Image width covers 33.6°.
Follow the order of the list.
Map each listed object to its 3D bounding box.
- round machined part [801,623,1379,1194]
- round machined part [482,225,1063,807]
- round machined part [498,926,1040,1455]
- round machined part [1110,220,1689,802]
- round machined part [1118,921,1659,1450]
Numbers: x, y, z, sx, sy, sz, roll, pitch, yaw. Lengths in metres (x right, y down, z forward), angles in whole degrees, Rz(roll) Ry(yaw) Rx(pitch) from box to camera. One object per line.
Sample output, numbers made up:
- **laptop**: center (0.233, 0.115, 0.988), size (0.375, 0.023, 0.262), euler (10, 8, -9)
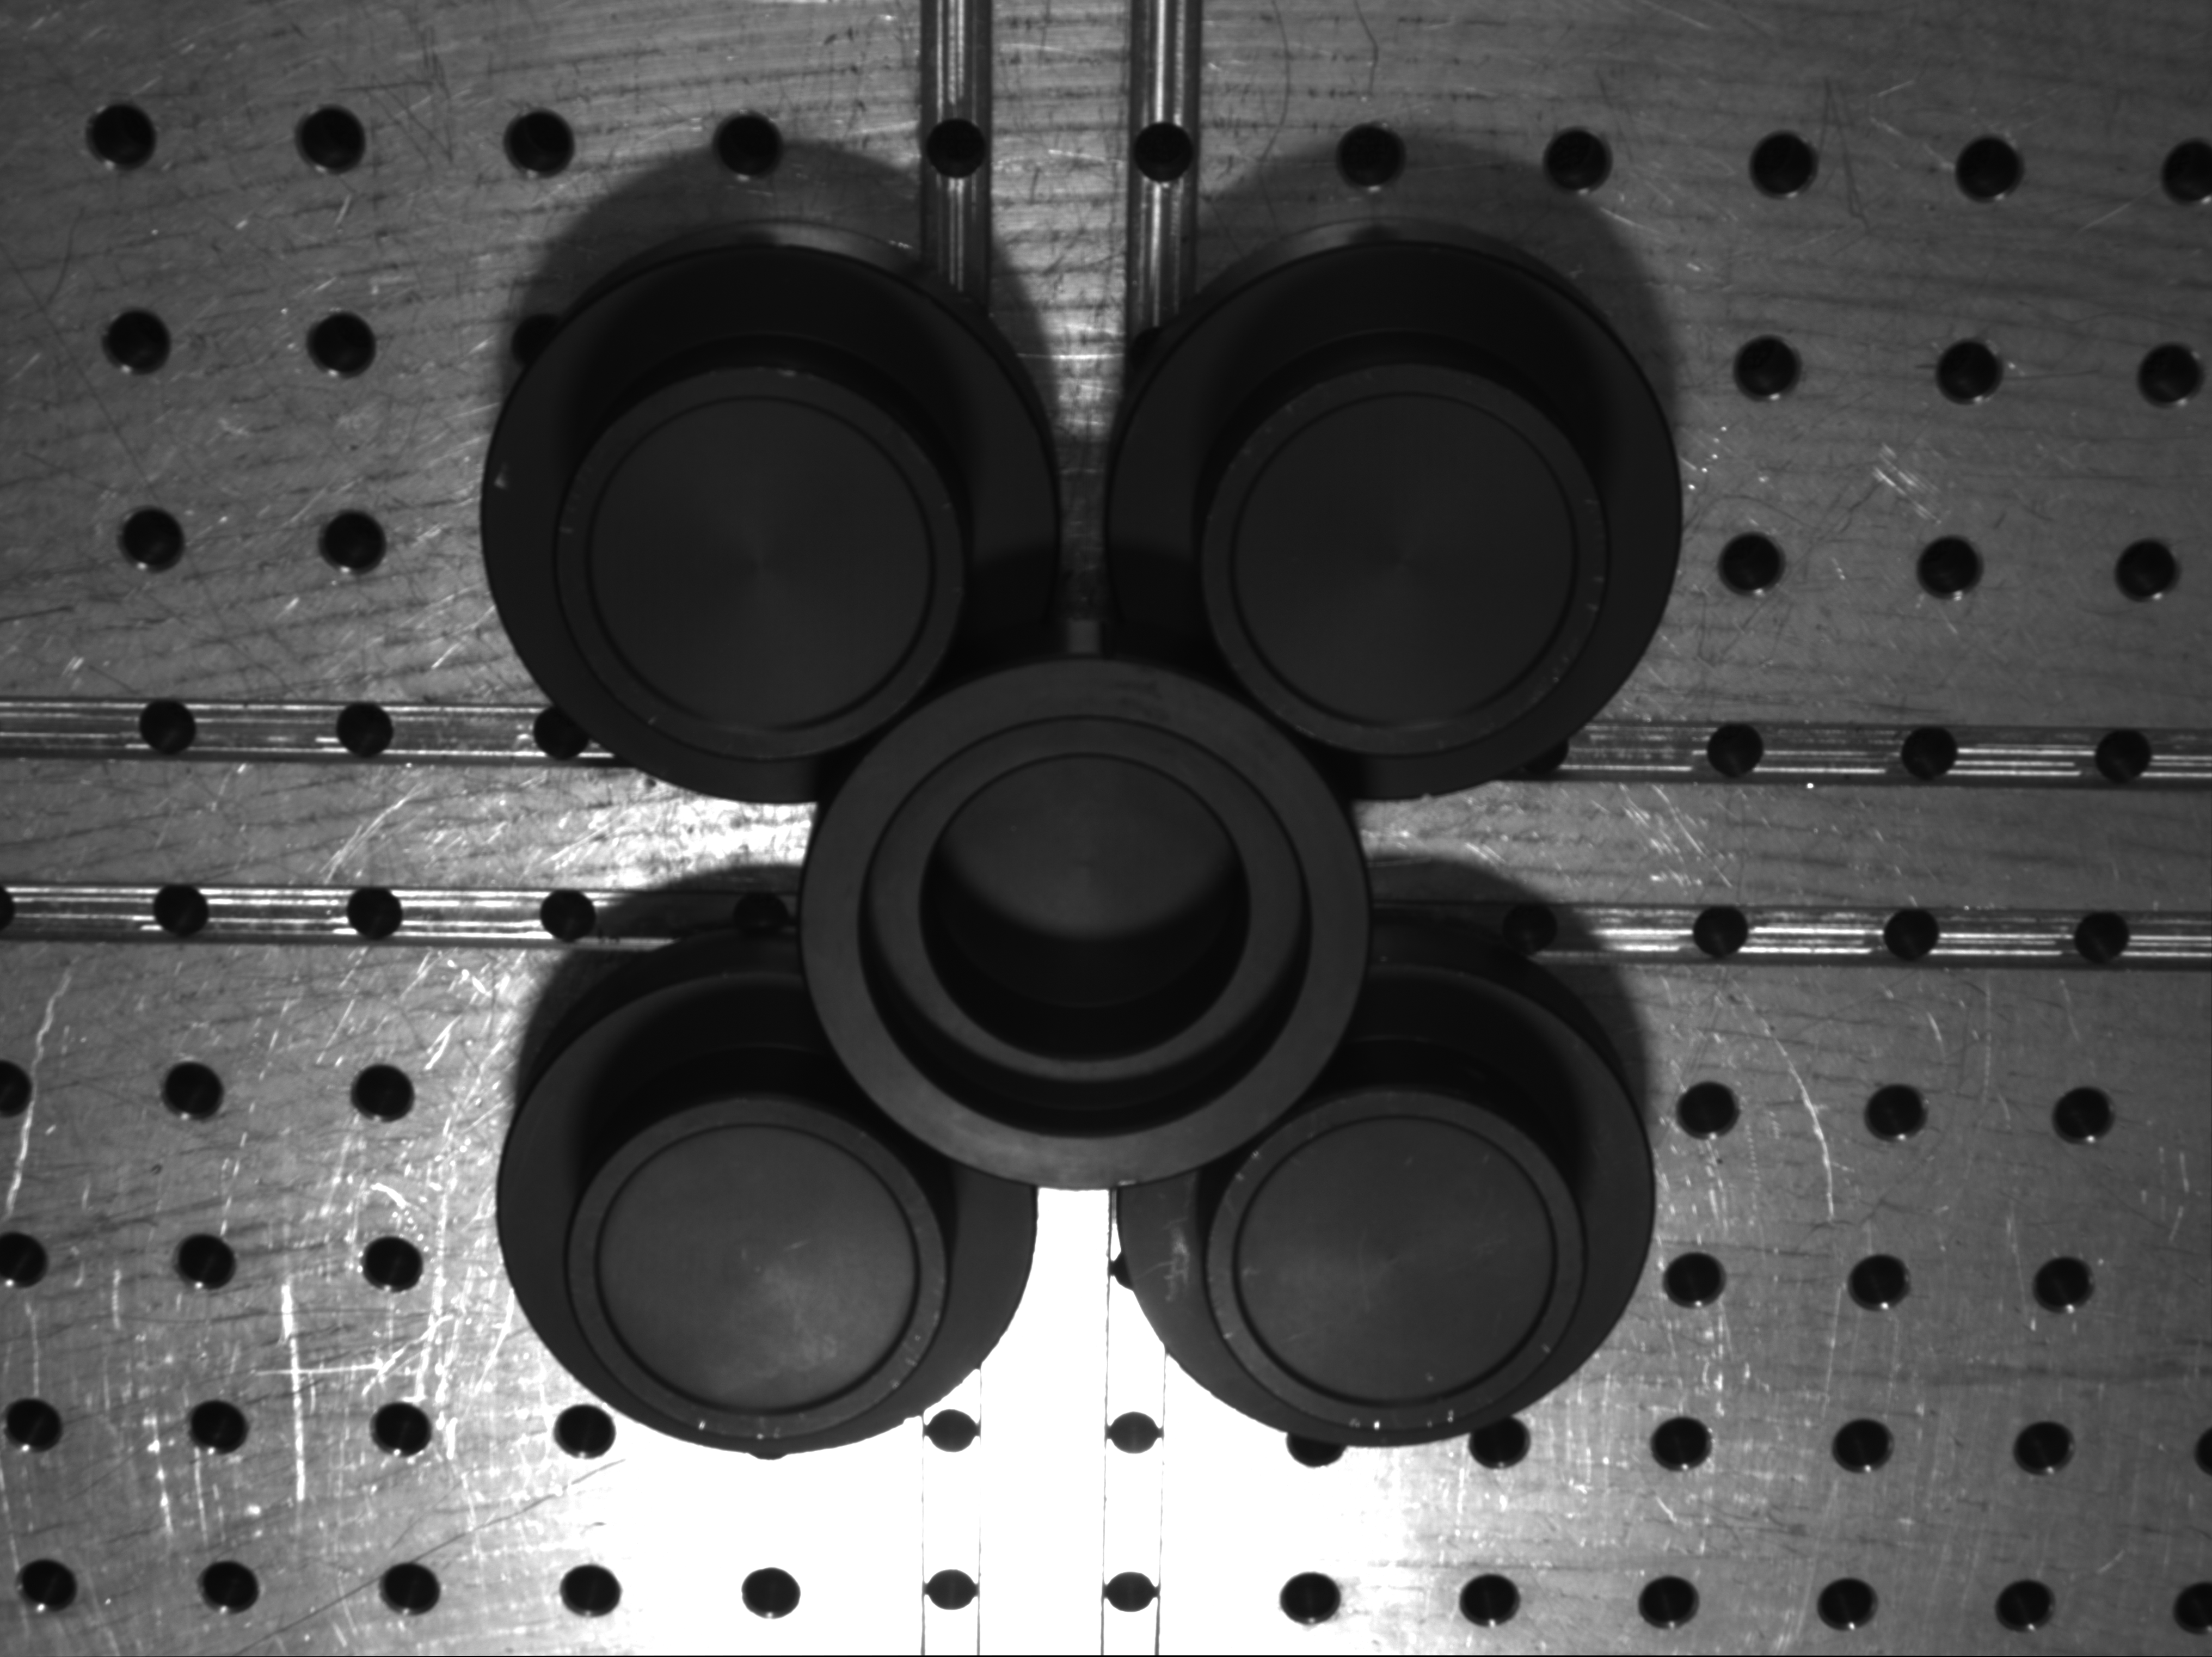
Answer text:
- **round machined part**: center (-0.003, 0.011, 0.639), size (0.098, 0.042, 0.098), euler (0, 110, -1)
- **round machined part**: center (-0.056, -0.049, 0.617), size (0.098, 0.042, 0.098), euler (0, 110, -1)
- **round machined part**: center (-0.061, 0.070, 0.662), size (0.098, 0.042, 0.098), euler (0, 110, -1)
- **round machined part**: center (0.050, -0.050, 0.618), size (0.098, 0.042, 0.098), euler (0, 110, -1)
- **round machined part**: center (0.051, 0.070, 0.662), size (0.098, 0.042, 0.098), euler (0, 110, -1)
